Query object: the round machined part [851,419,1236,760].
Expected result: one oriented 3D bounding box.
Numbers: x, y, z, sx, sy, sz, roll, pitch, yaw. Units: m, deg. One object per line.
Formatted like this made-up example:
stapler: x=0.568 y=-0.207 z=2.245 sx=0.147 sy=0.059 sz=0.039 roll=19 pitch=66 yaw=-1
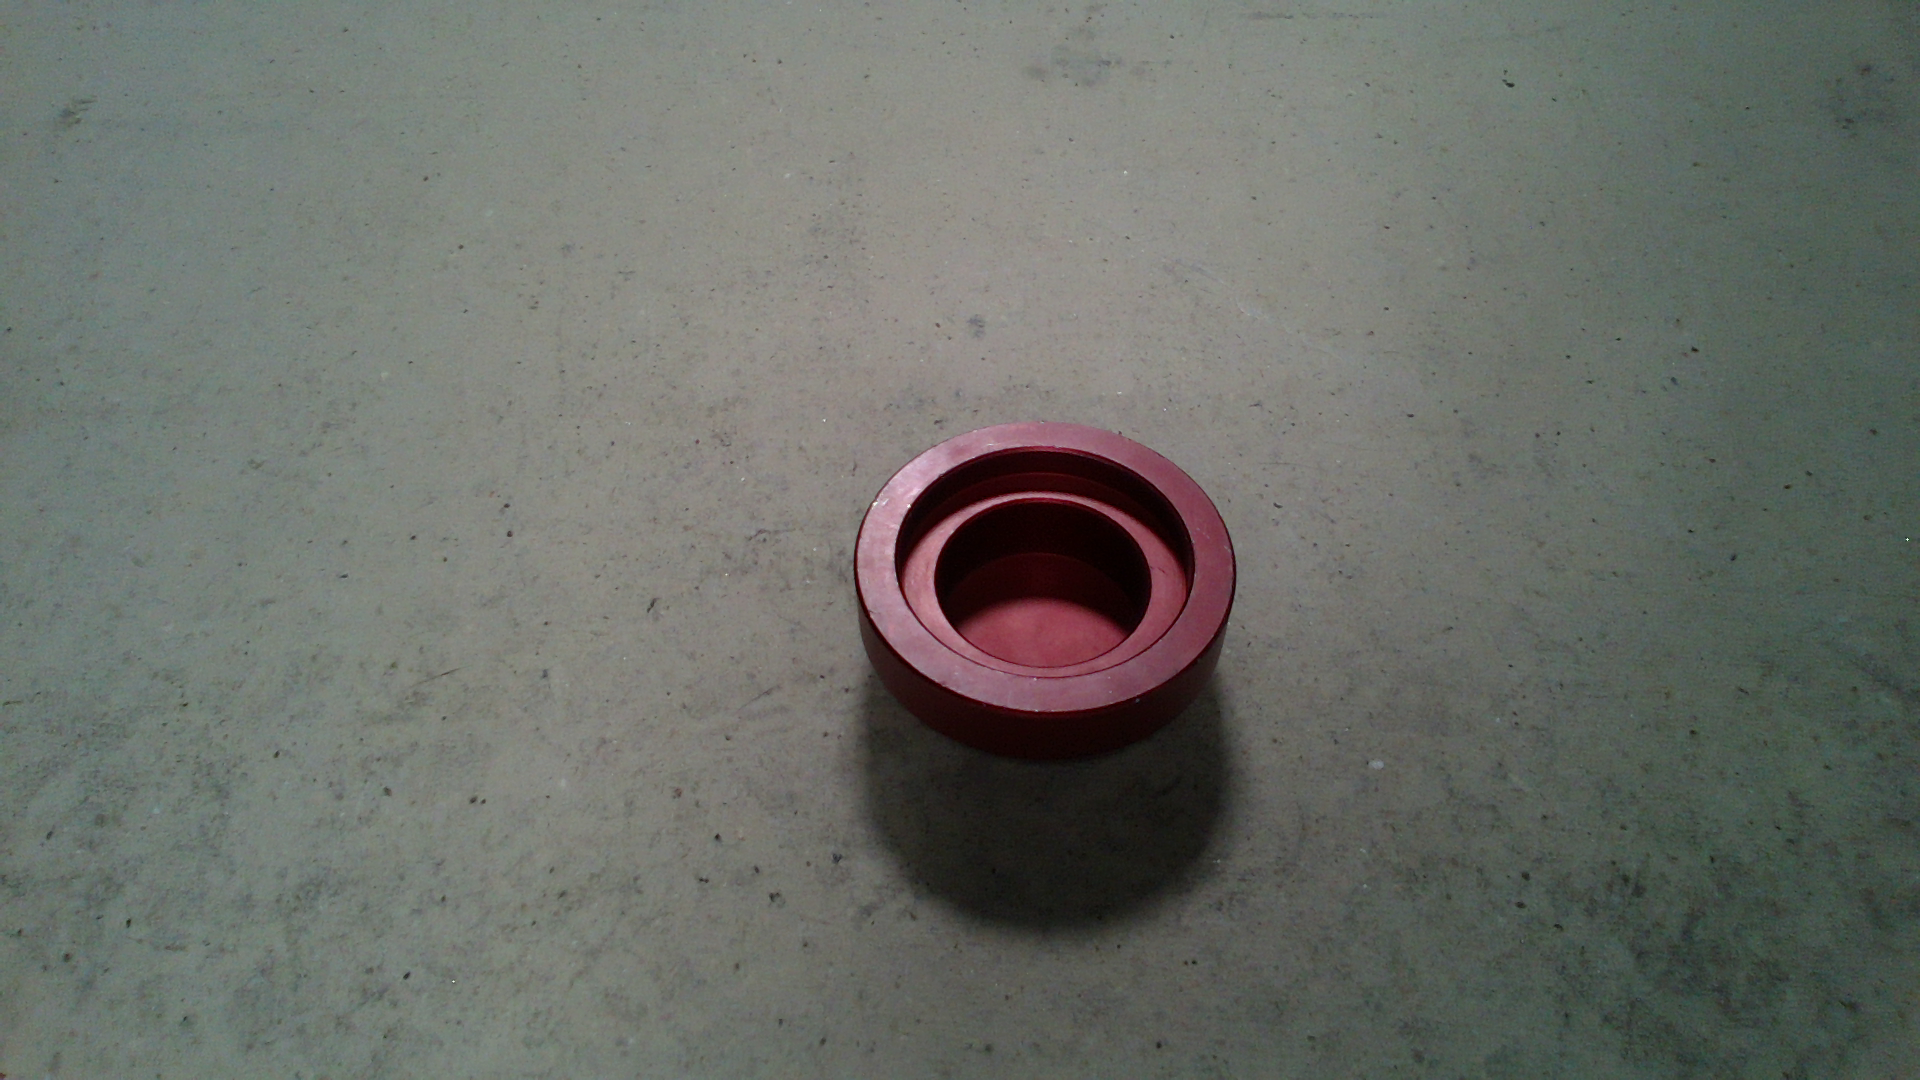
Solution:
round machined part: x=0.021 y=0.017 z=0.367 sx=0.098 sy=0.042 sz=0.098 roll=0 pitch=50 yaw=0
